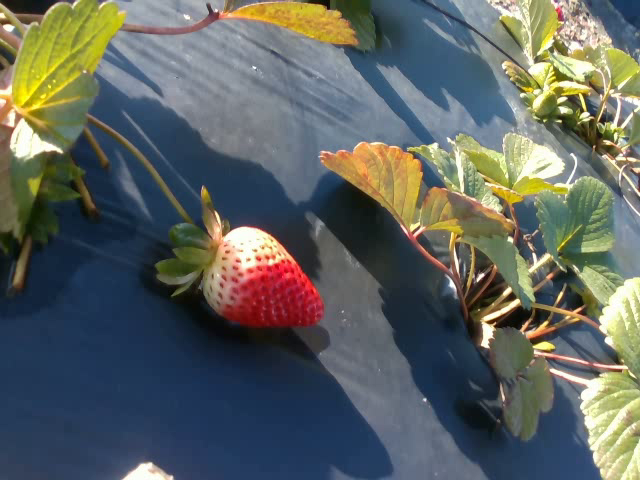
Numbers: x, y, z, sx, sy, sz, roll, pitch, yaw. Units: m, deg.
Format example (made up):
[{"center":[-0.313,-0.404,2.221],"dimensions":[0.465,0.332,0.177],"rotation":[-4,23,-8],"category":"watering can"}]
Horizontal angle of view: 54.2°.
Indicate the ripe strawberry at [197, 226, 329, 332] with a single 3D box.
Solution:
[{"center":[-0.018,0.017,0.240],"dimensions":[0.063,0.045,0.044],"rotation":[29,6,-10],"category":"ripe strawberry"}]
